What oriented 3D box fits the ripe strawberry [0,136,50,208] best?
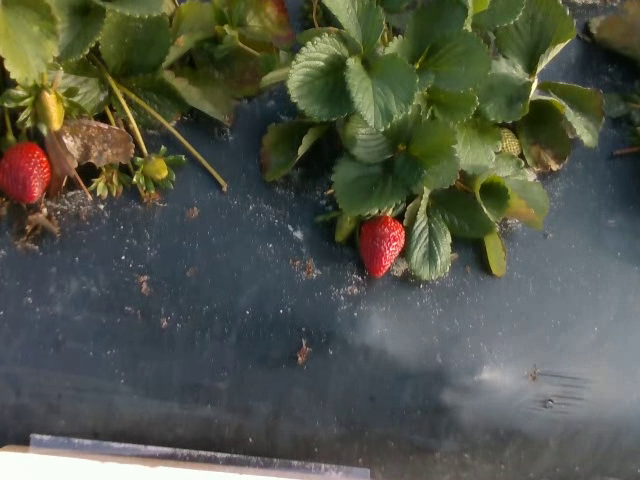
[{"bbox_3d":[-0.140,-0.028,0.289,0.031,0.030,0.026,-30,-23,-10],"label":"ripe strawberry"}]

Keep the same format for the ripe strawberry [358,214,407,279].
[{"bbox_3d":[0.031,0.005,0.312,0.029,0.036,0.021,8,-16,-1],"label":"ripe strawberry"}]
